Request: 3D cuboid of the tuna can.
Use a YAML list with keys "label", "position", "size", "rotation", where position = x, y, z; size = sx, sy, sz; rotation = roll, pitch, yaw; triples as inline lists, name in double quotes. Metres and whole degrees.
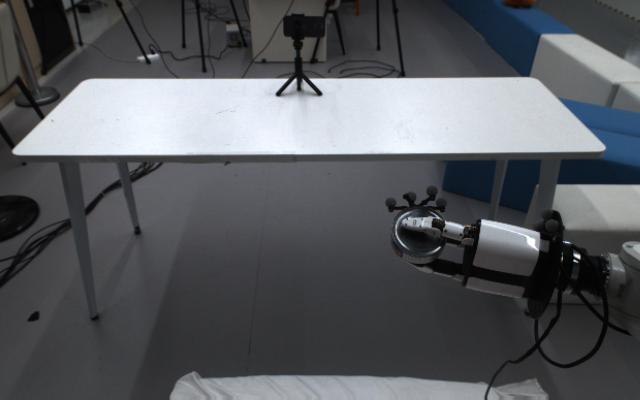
- label: "tuna can"
  position: [0.152, 0.053, 0.743]
  size: [0.085, 0.034, 0.085]
  rotation: [-2, 58, 3]
